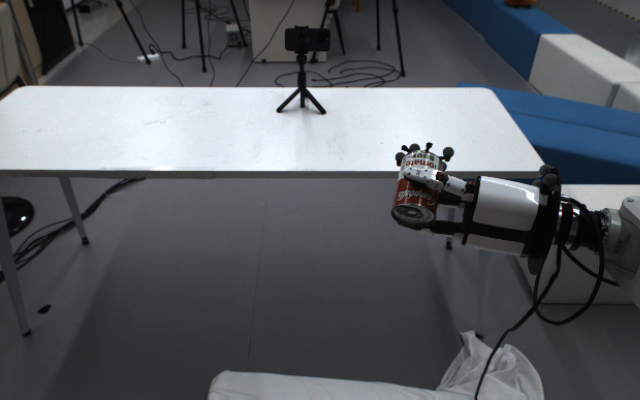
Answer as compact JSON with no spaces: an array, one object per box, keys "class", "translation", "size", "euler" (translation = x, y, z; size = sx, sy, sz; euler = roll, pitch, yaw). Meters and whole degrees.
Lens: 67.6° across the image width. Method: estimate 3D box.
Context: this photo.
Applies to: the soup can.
[{"class":"soup can","translation":[0.153,-0.020,0.752],"size":[0.067,0.067,0.101],"euler":[9,61,10]}]
